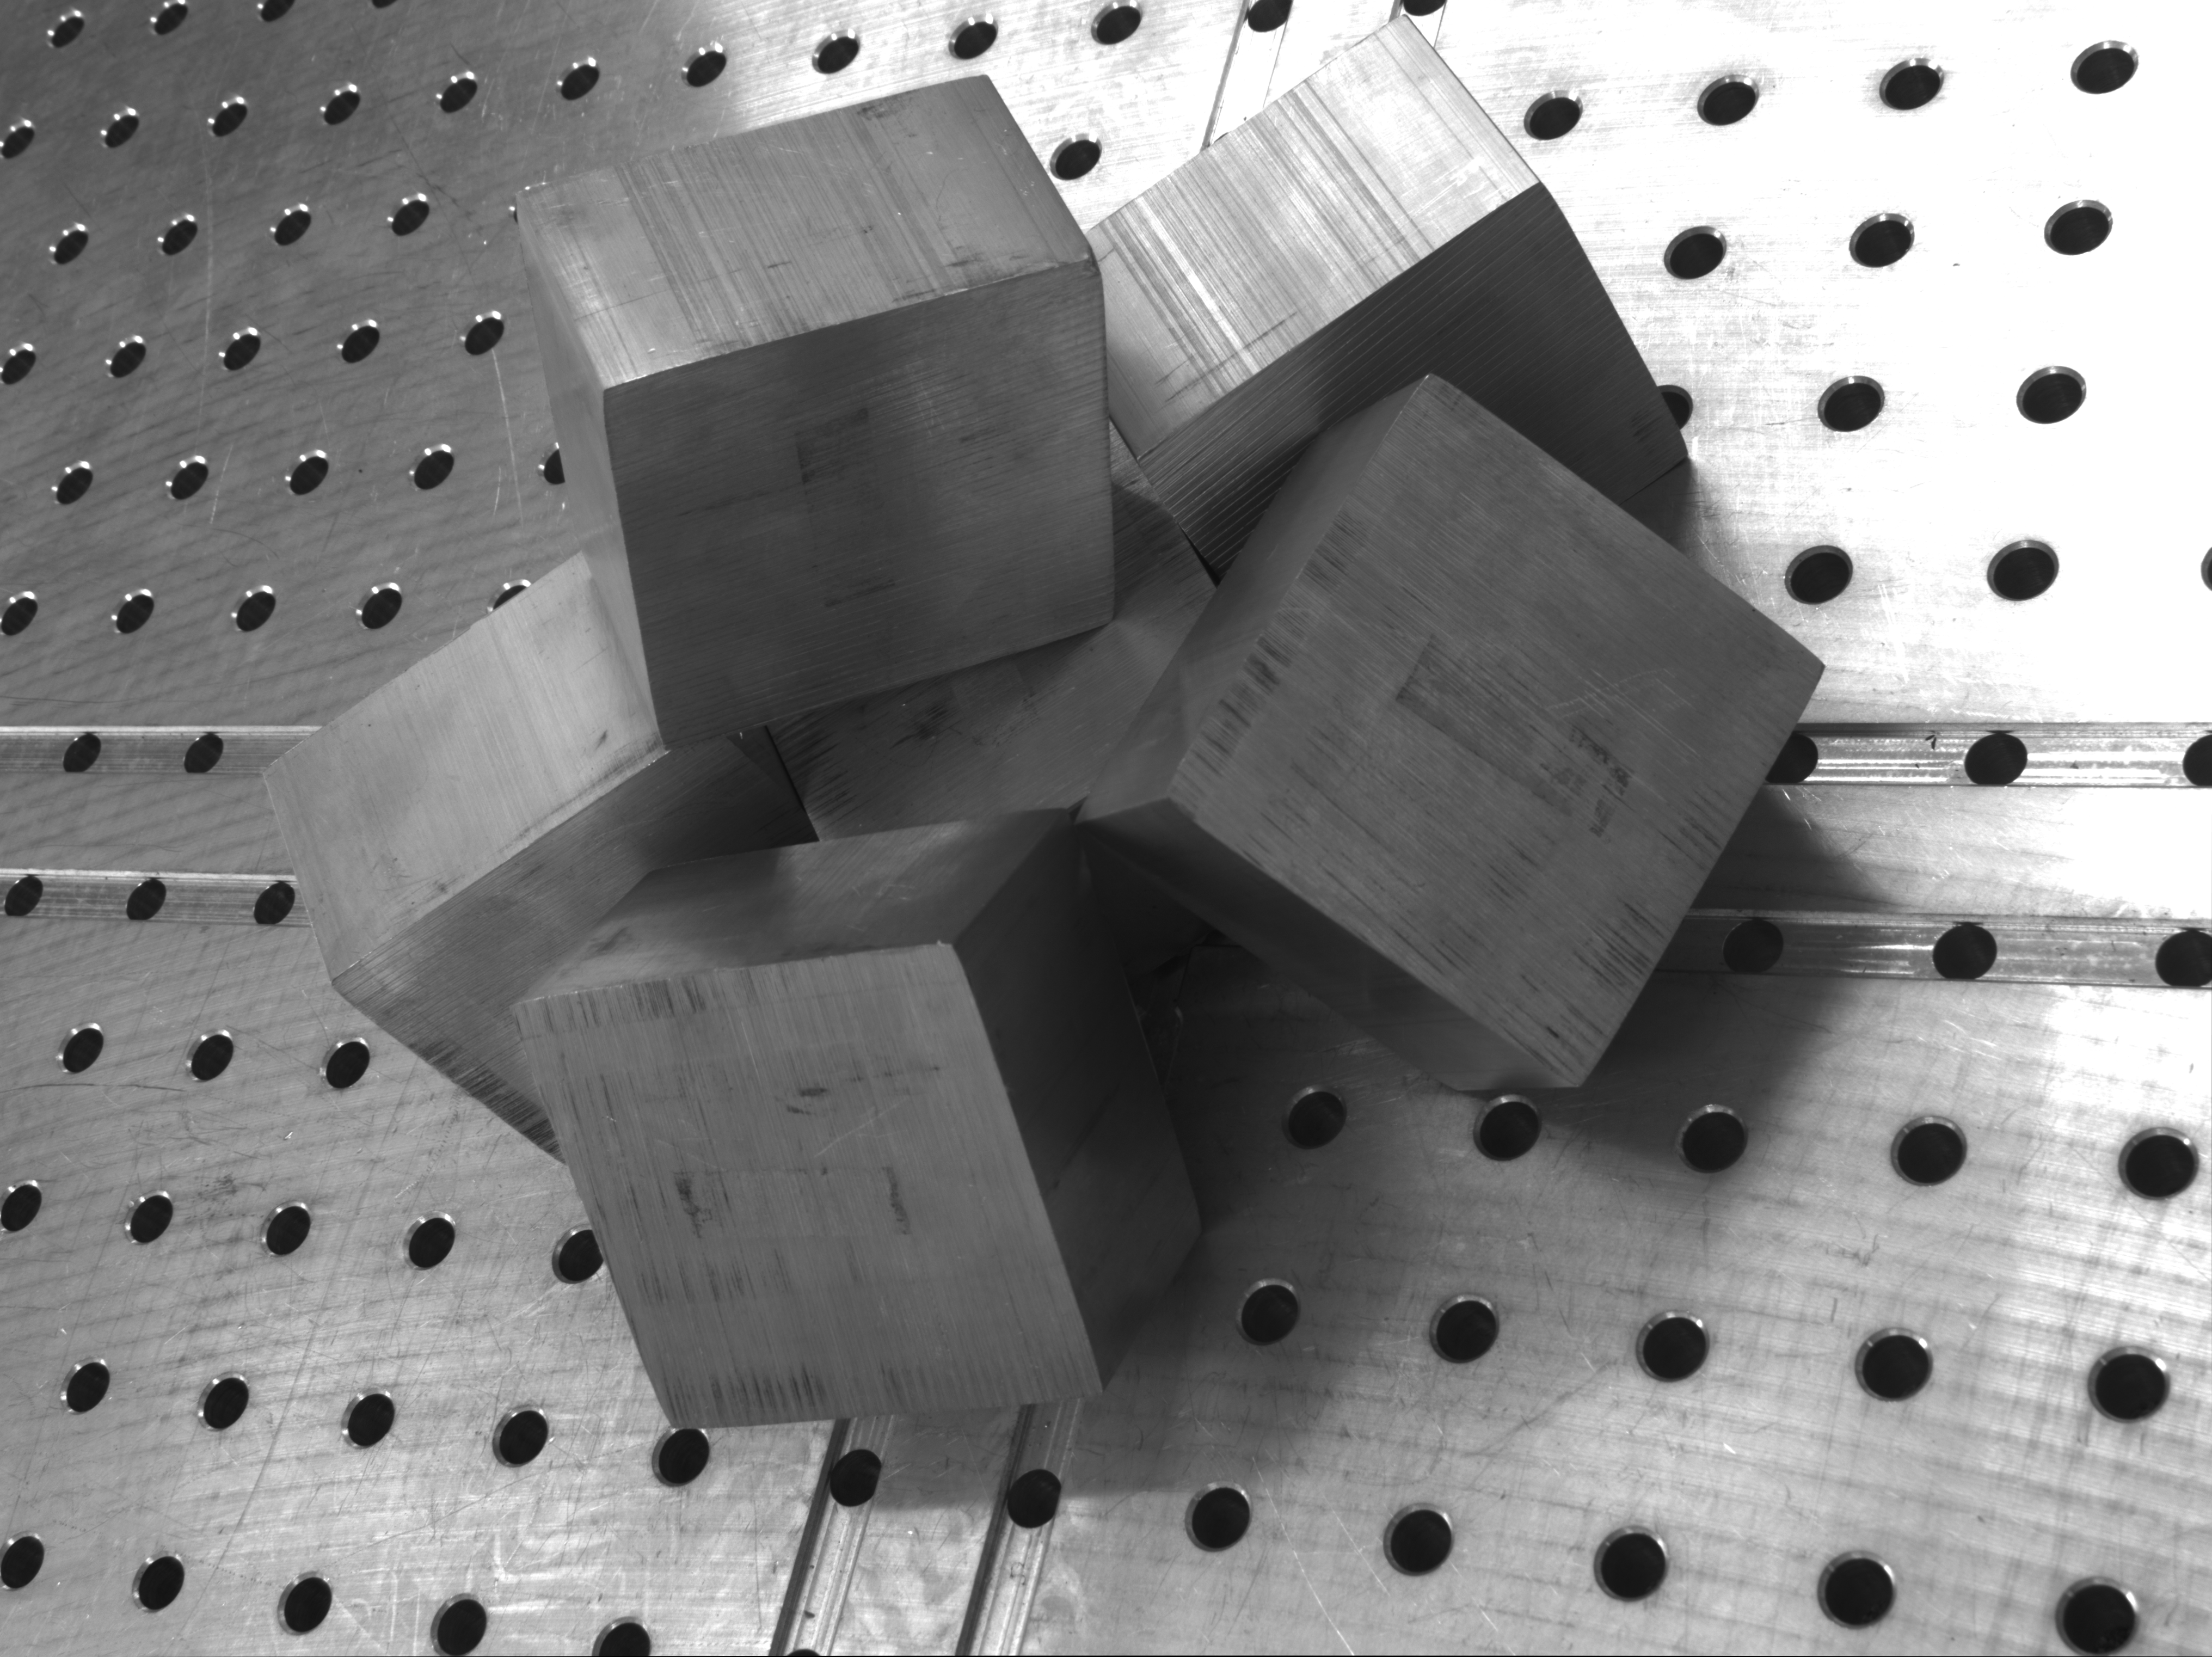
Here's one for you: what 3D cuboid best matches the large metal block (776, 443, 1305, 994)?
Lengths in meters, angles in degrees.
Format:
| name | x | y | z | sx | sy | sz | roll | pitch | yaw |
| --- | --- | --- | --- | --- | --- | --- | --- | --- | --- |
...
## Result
| name | x | y | z | sx | sy | sz | roll | pitch | yaw |
| --- | --- | --- | --- | --- | --- | --- | --- | --- | --- |
| large metal block | -0.010 | -0.017 | 0.651 | 0.080 | 0.050 | 0.080 | -34 | 51 | 6 |

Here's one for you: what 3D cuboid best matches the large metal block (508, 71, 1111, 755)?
| name | x | y | z | sx | sy | sz | roll | pitch | yaw |
| --- | --- | --- | --- | --- | --- | --- | --- | --- | --- |
| large metal block | -0.046 | -0.067 | 0.598 | 0.080 | 0.080 | 0.050 | -17 | 50 | -13 |

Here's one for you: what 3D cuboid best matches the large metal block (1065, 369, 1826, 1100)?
| name | x | y | z | sx | sy | sz | roll | pitch | yaw |
| --- | --- | --- | --- | --- | --- | --- | --- | --- | --- |
| large metal block | 0.053 | -0.013 | 0.583 | 0.080 | 0.080 | 0.050 | -58 | 11 | -13 |

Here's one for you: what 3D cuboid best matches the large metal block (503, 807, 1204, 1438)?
| name | x | y | z | sx | sy | sz | roll | pitch | yaw |
| --- | --- | --- | --- | --- | --- | --- | --- | --- | --- |
| large metal block | -0.039 | 0.048 | 0.595 | 0.080 | 0.080 | 0.050 | -9 | 21 | 24 |

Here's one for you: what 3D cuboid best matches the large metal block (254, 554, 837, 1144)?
| name | x | y | z | sx | sy | sz | roll | pitch | yaw |
| --- | --- | --- | --- | --- | --- | --- | --- | --- | --- |
| large metal block | -0.091 | 0.004 | 0.659 | 0.080 | 0.080 | 0.050 | -33 | 51 | 6 |

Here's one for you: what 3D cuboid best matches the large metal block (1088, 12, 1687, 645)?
| name | x | y | z | sx | sy | sz | roll | pitch | yaw |
| --- | --- | --- | --- | --- | --- | --- | --- | --- | --- |
| large metal block | 0.044 | -0.079 | 0.638 | 0.080 | 0.080 | 0.050 | -34 | 51 | 6 |
